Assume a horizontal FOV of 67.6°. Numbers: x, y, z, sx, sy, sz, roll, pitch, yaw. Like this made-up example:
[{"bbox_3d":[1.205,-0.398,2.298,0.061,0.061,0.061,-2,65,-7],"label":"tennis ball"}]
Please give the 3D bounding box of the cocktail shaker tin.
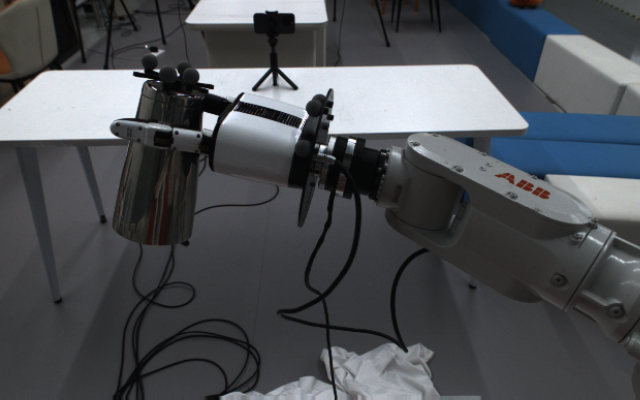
[{"bbox_3d":[-0.178,-0.047,0.558,0.093,0.170,0.093,14,19,-5],"label":"cocktail shaker tin"}]
